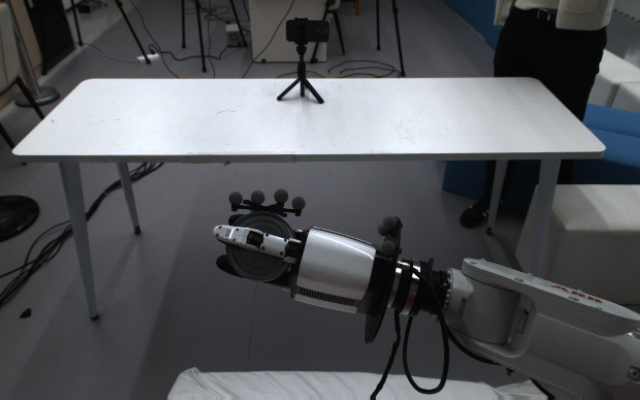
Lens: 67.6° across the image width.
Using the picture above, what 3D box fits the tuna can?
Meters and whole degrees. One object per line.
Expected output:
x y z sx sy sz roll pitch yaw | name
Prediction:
-0.069 0.062 0.596 0.085 0.034 0.085 0 77 0 | tuna can
